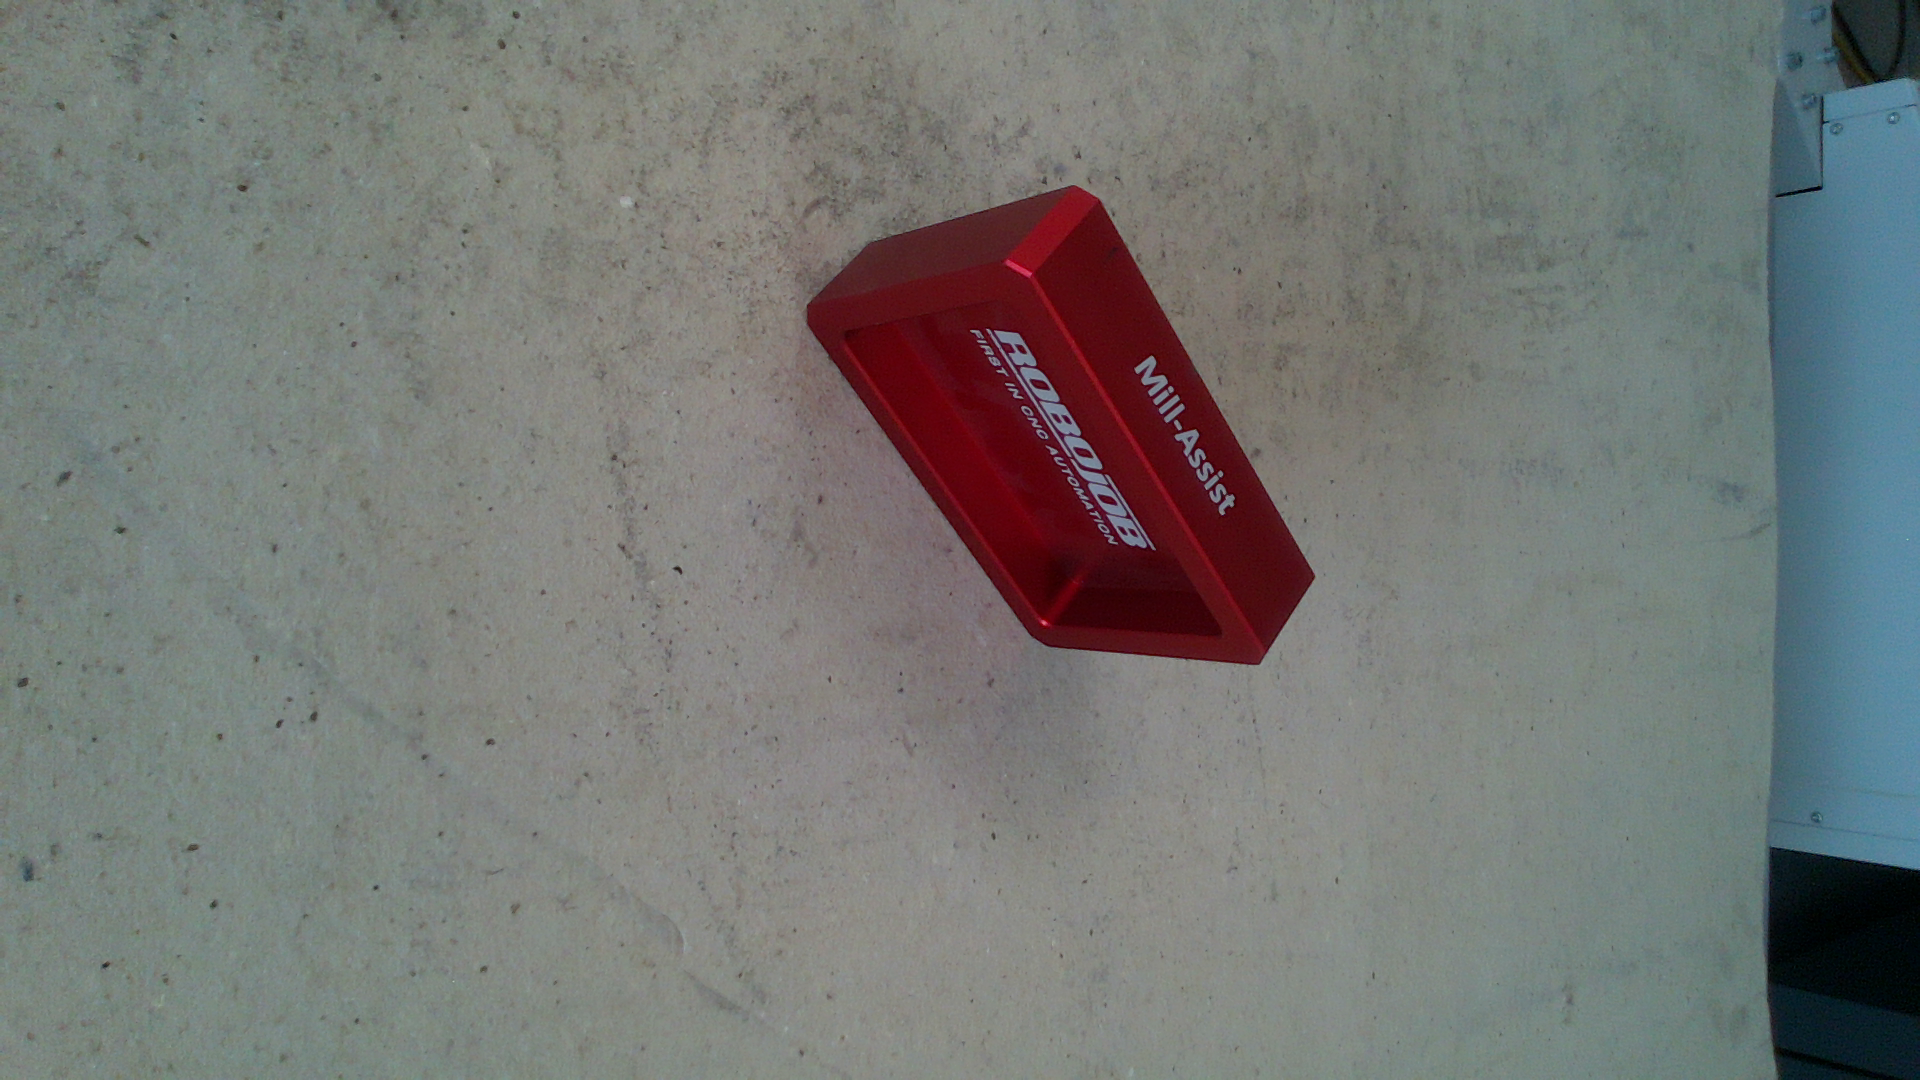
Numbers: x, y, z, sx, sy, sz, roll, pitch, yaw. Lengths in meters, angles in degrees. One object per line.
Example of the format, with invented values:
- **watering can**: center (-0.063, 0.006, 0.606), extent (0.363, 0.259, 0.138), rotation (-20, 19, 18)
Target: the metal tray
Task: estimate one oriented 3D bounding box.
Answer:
- **metal tray**: center (0.027, -0.025, 0.368), extent (0.030, 0.090, 0.130), rotation (-51, 120, -28)
